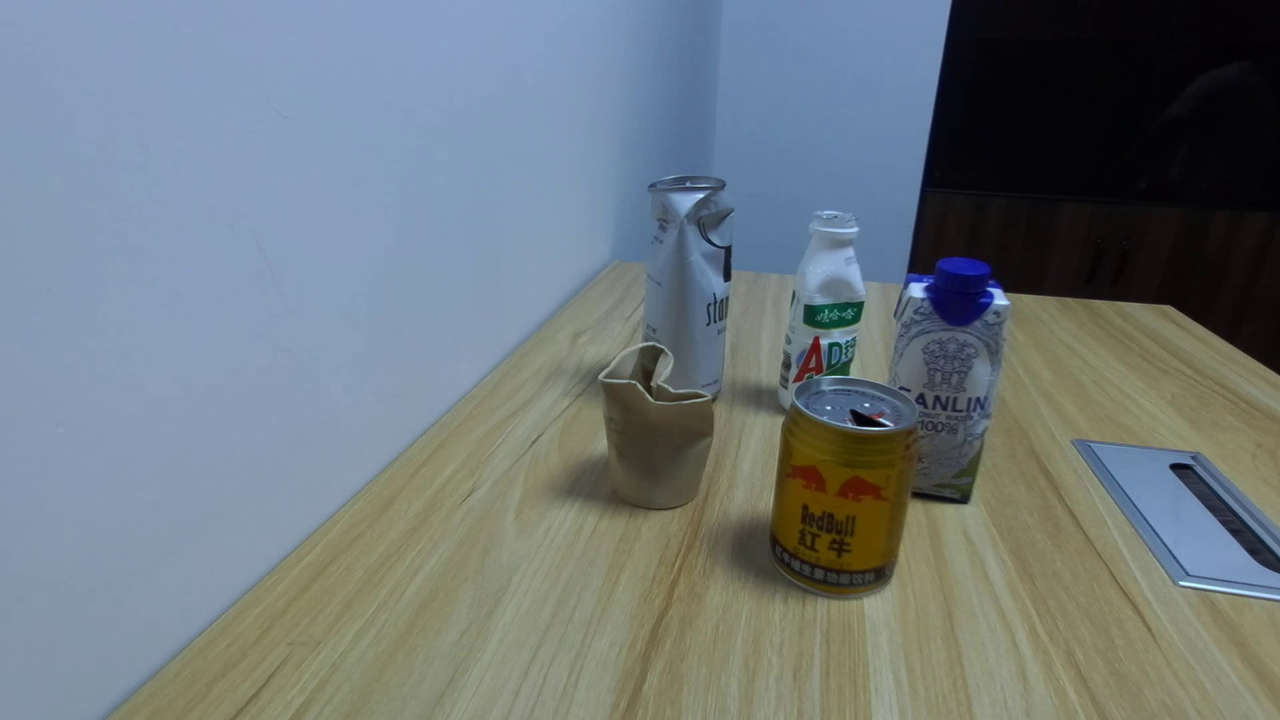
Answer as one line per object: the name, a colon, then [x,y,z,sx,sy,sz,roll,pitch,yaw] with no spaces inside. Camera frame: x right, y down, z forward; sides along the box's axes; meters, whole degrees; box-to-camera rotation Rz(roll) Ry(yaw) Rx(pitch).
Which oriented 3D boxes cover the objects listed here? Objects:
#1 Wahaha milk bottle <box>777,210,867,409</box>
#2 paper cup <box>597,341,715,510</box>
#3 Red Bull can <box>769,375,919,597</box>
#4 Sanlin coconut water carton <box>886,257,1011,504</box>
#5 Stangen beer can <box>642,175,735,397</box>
Wahaha milk bottle: [0.133,-0.033,0.514,0.055,0.149,0.055,2,20,0]
paper cup: [0.014,0.040,0.413,0.058,0.083,0.066,12,27,17]
Red Bull can: [0.101,0.061,0.353,0.067,0.093,0.067,2,23,-1]
Sanlin coconut water carton: [0.179,0.009,0.423,0.060,0.144,0.061,6,22,14]
Stangen beer can: [0.033,-0.050,0.527,0.066,0.166,0.065,-19,29,-38]
